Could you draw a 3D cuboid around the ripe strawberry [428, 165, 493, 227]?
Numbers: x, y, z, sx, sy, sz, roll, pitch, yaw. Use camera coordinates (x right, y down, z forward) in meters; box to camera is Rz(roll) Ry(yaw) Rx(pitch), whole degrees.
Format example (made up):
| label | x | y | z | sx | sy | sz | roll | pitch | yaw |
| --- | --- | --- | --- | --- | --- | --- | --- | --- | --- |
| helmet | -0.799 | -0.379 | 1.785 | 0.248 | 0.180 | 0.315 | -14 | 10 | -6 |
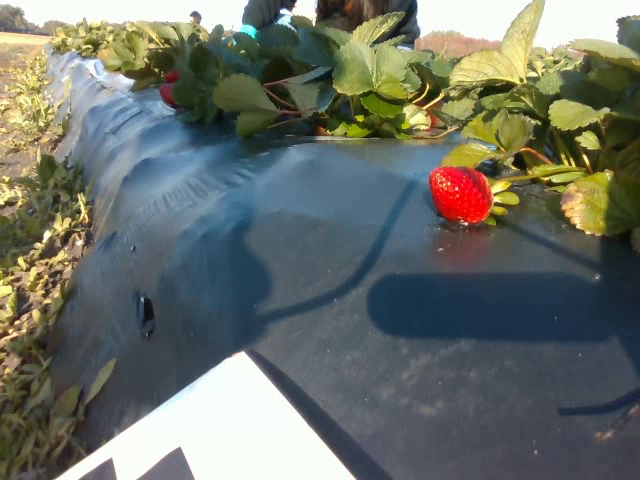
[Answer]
| label | x | y | z | sx | sy | sz | roll | pitch | yaw |
| --- | --- | --- | --- | --- | --- | --- | --- | --- | --- |
| ripe strawberry | 0.057 | -0.021 | 0.252 | 0.028 | 0.031 | 0.041 | -5 | -24 | 43 |
